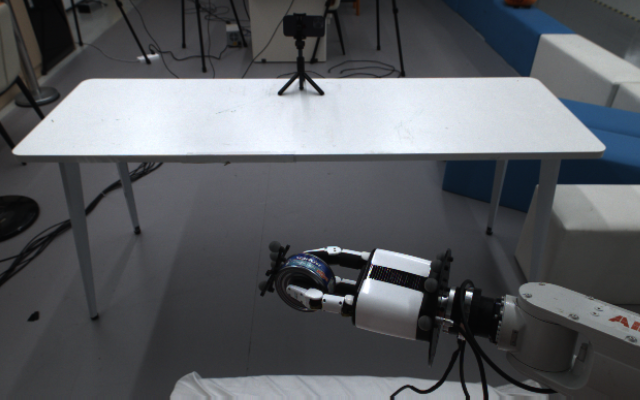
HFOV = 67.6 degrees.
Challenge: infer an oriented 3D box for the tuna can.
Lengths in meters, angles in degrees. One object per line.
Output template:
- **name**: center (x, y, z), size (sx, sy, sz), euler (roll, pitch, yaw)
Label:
- **tuna can**: center (-0.019, 0.126, 0.704), size (0.085, 0.085, 0.034), euler (12, 30, 14)
